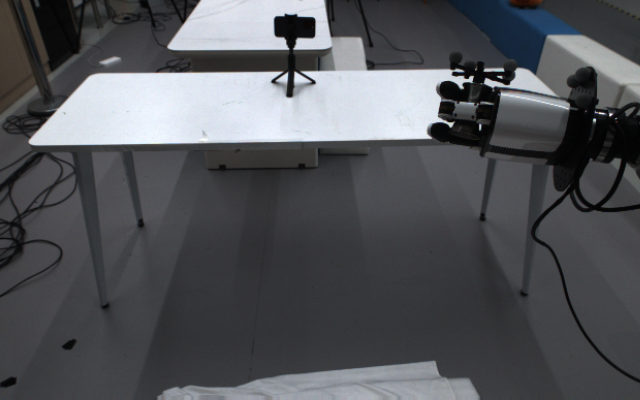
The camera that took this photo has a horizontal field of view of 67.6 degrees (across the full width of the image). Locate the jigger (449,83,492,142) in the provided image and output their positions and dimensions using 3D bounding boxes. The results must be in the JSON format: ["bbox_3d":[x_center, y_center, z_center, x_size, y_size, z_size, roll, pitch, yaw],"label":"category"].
[{"bbox_3d":[0.206,-0.120,0.654,0.043,0.071,0.043,14,1,0],"label":"jigger"}]
